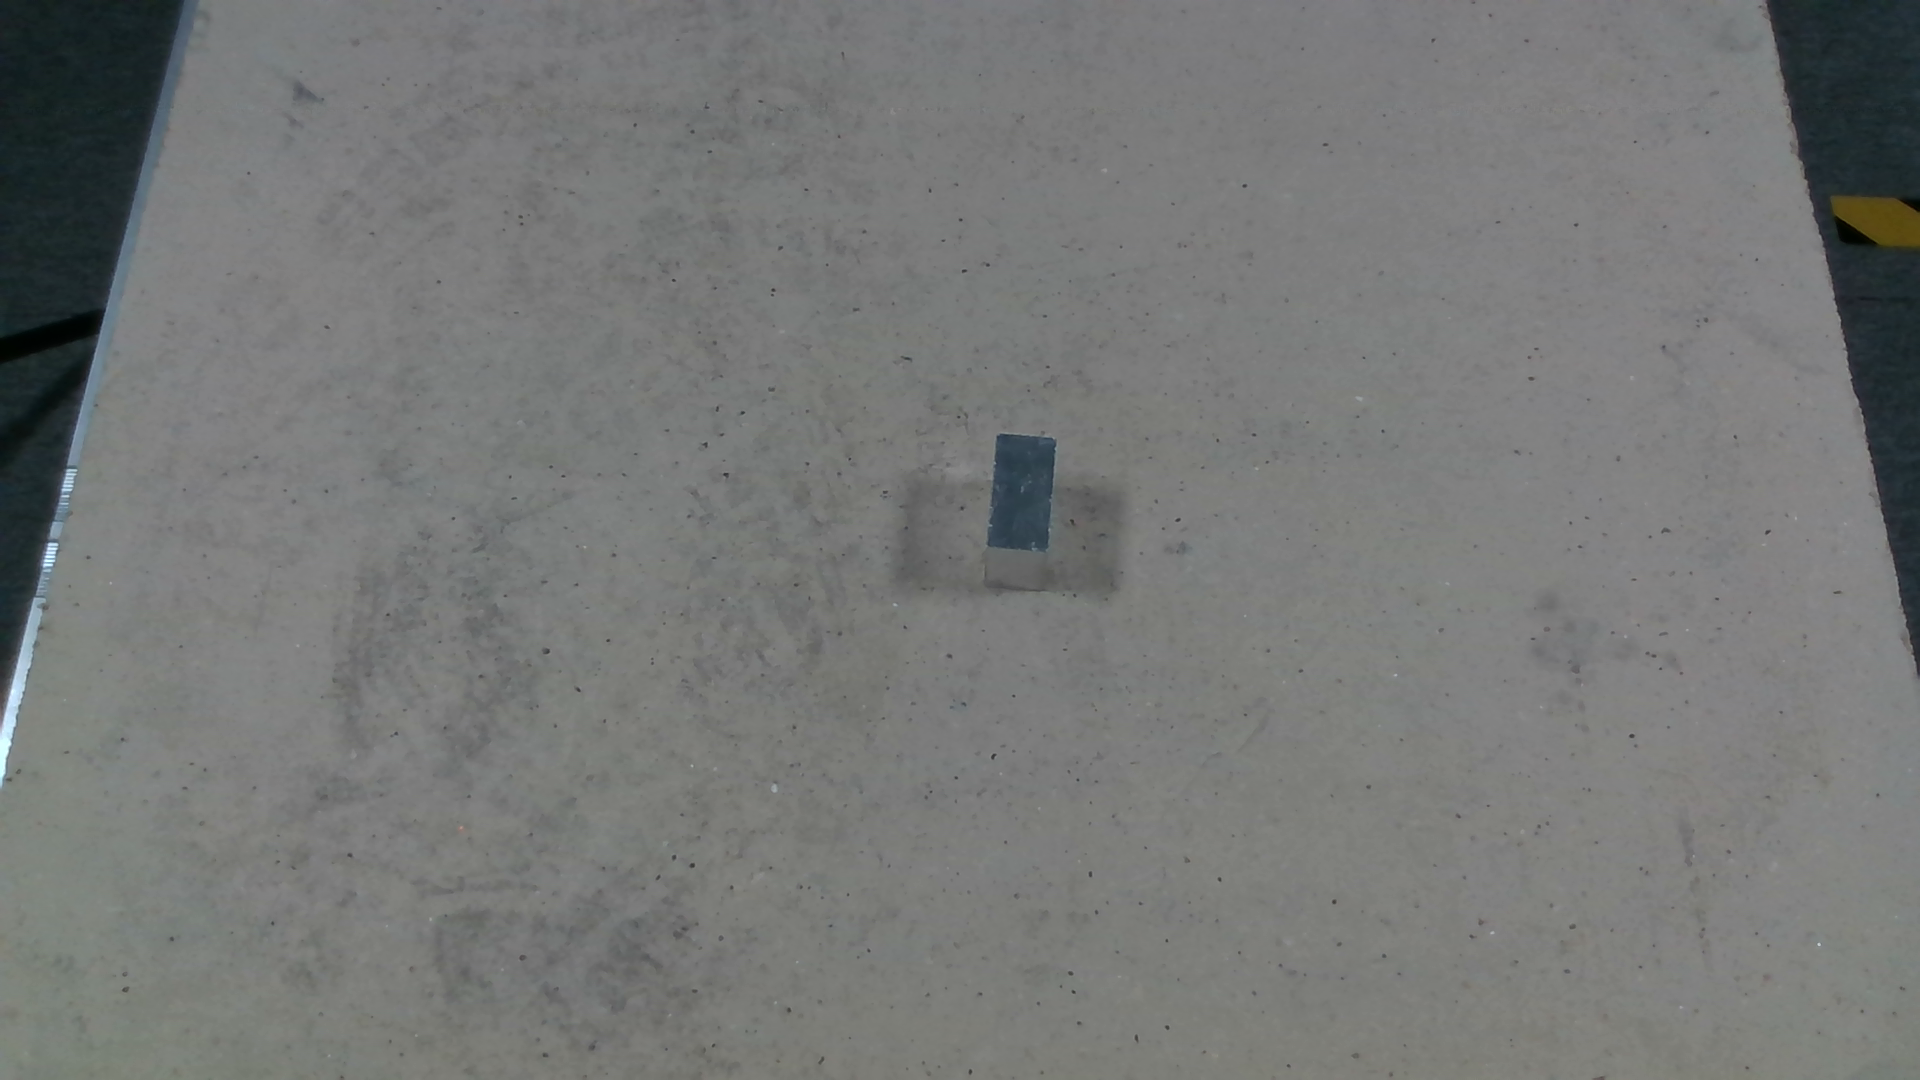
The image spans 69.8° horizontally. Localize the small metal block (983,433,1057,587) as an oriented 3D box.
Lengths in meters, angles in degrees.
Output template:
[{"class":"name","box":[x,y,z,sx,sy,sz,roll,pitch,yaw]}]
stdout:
[{"class":"small metal block","box":[0.025,-0.011,0.578,0.025,0.050,0.050,5,70,2]}]
